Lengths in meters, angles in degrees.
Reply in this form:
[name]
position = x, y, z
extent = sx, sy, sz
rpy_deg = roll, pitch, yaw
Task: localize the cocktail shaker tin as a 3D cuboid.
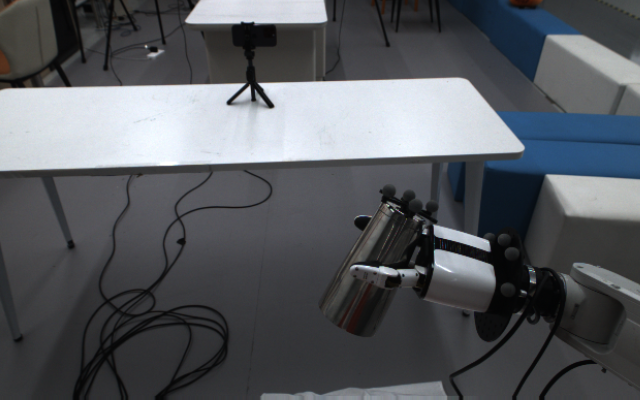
[cocktail shaker tin]
position = 0.078, 0.087, 0.661
extent = 0.093, 0.170, 0.093
rpy_deg = 24, 13, -6
